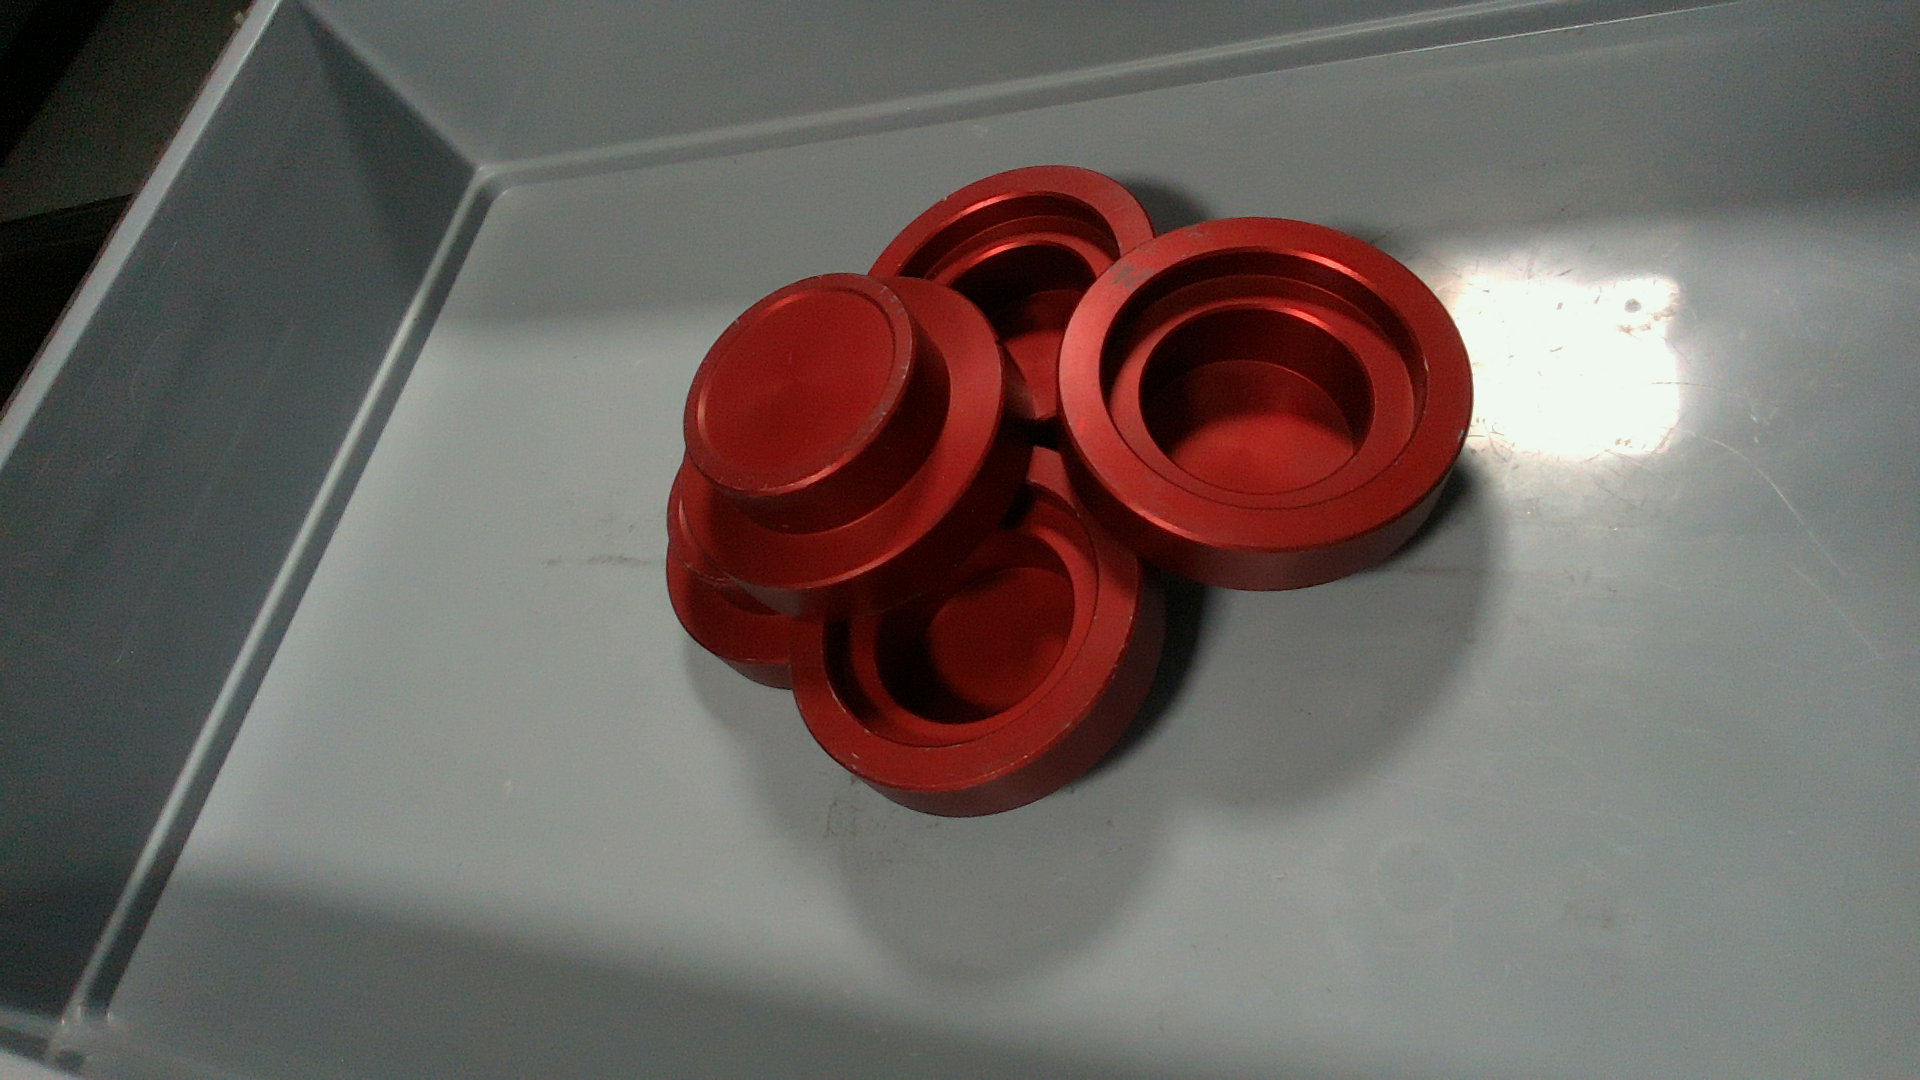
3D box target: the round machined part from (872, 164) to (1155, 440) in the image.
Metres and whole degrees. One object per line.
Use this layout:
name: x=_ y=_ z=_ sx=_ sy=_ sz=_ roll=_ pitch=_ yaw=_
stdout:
round machined part: x=0.018 y=-0.060 z=0.409 sx=0.098 sy=0.042 sz=0.098 roll=-13 pitch=56 yaw=21

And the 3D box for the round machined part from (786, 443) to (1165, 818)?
round machined part: x=0.007 y=0.026 z=0.361 sx=0.098 sy=0.042 sz=0.098 roll=-13 pitch=56 yaw=21

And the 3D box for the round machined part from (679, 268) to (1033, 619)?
round machined part: x=-0.034 y=-0.032 z=0.363 sx=0.098 sy=0.042 sz=0.098 roll=-13 pitch=56 yaw=21

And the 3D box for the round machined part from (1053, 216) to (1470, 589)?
round machined part: x=0.073 y=-0.031 z=0.347 sx=0.098 sy=0.042 sz=0.098 roll=-2 pitch=61 yaw=4

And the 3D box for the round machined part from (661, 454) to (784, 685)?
round machined part: x=-0.049 y=-0.009 z=0.411 sx=0.098 sy=0.042 sz=0.098 roll=-13 pitch=56 yaw=21
